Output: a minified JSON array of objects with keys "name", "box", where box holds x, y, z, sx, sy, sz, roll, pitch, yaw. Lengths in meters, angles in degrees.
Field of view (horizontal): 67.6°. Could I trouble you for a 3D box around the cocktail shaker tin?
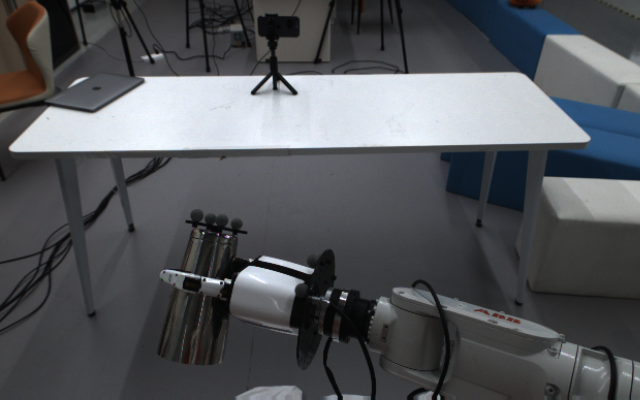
[{"name":"cocktail shaker tin","box":[-0.162,0.130,0.670,0.093,0.170,0.093,10,-5,1]}]
